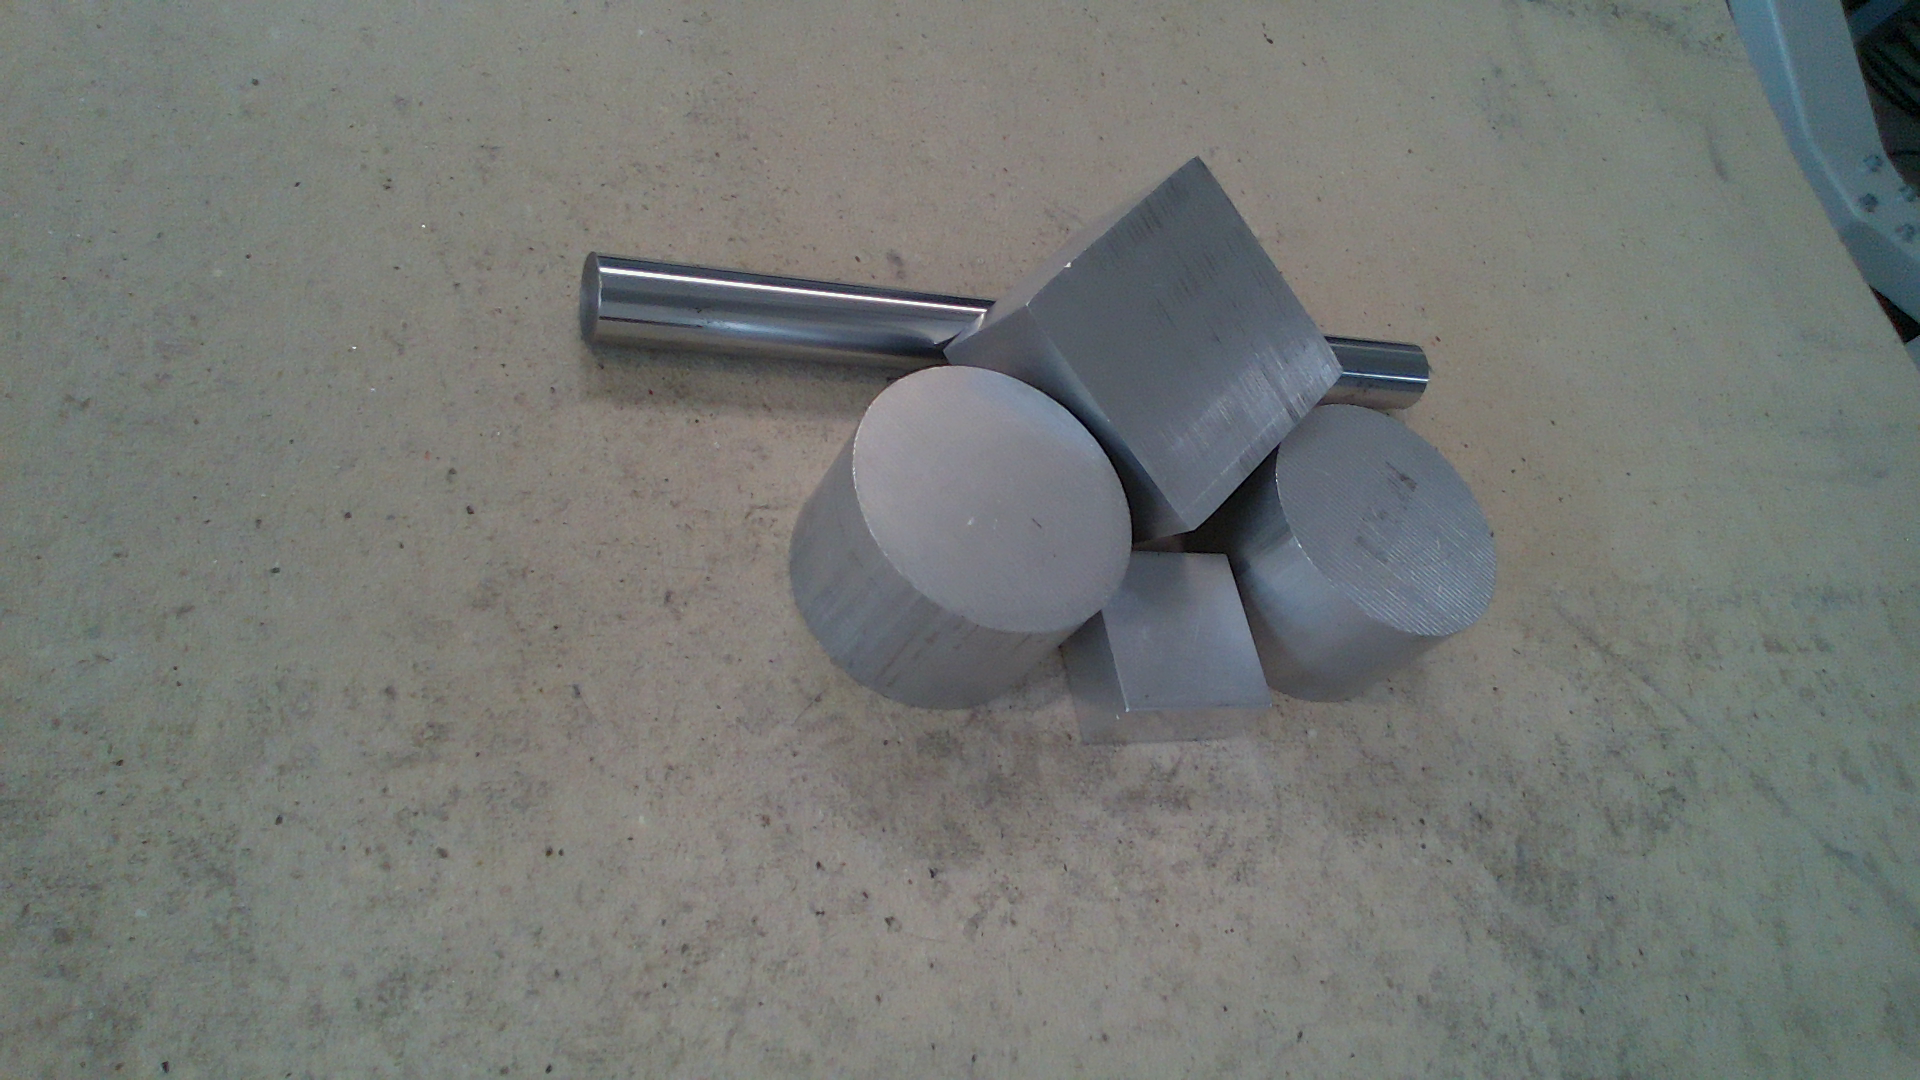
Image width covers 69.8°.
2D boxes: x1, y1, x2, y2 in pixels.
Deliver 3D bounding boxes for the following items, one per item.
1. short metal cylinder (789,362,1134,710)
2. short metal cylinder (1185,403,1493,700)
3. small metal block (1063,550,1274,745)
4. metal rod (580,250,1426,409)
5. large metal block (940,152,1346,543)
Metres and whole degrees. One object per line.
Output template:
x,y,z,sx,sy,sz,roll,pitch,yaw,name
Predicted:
0.000,-0.001,0.373,0.080,0.050,0.080,14,56,-21,short metal cylinder
0.119,0.004,0.435,0.080,0.050,0.080,14,56,-21,short metal cylinder
0.058,0.031,0.403,0.050,0.025,0.050,2,61,-27,small metal block
0.032,-0.064,0.446,0.301,0.025,0.025,1,61,-28,metal rod
0.056,-0.054,0.414,0.080,0.050,0.080,-44,103,-26,large metal block
